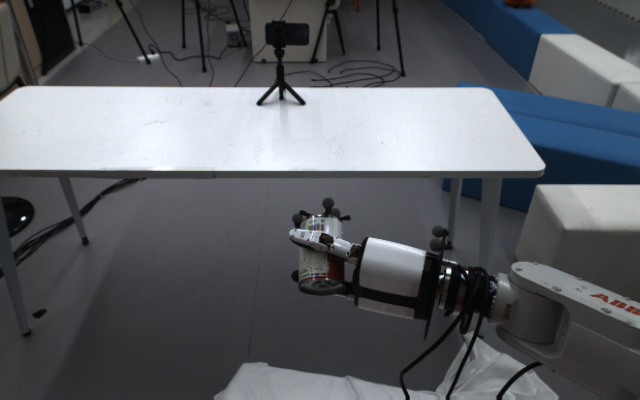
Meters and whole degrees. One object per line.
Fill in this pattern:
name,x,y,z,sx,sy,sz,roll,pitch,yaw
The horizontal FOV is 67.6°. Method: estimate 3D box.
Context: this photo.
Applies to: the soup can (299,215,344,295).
soup can,0.005,0.082,0.710,0.067,0.067,0.101,0,63,-3
